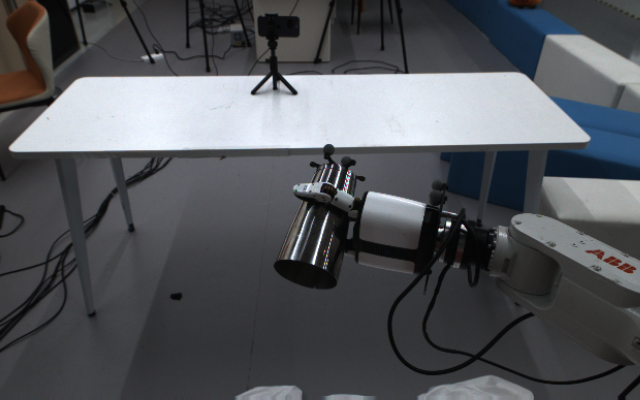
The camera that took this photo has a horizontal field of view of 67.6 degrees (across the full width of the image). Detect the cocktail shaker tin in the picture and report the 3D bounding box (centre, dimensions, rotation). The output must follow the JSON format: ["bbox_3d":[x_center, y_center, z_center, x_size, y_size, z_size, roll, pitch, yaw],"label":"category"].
[{"bbox_3d":[0.003,0.033,0.702,0.093,0.093,0.170,11,60,12],"label":"cocktail shaker tin"}]
